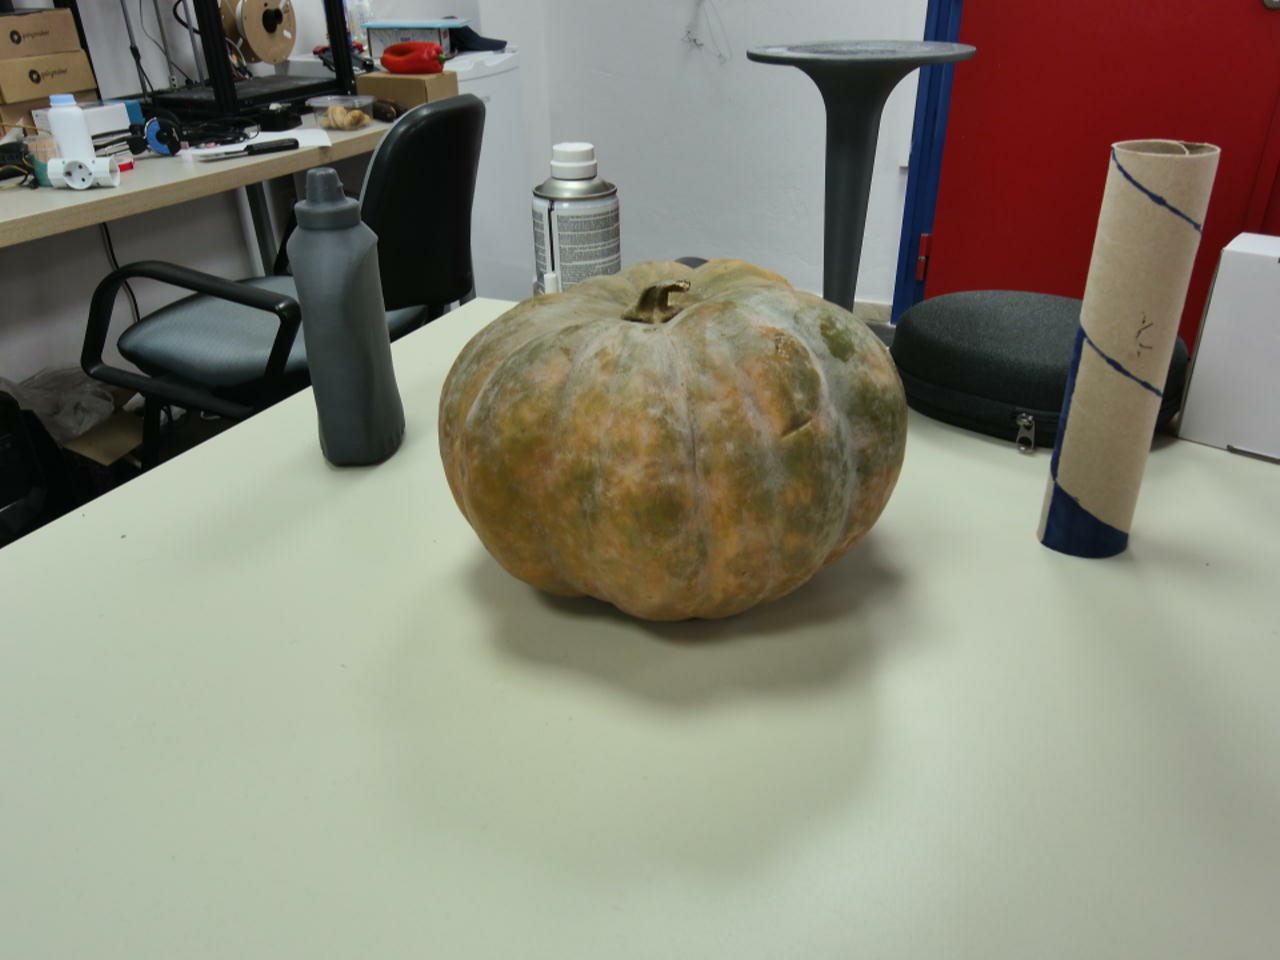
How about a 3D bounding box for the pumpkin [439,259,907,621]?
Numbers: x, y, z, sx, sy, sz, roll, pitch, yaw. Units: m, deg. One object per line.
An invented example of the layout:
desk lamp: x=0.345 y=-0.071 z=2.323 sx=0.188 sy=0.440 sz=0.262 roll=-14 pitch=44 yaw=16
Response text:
pumpkin: x=0.013 y=-0.029 z=0.544 sx=0.252 sy=0.169 sz=0.251 roll=0 pitch=26 yaw=0
